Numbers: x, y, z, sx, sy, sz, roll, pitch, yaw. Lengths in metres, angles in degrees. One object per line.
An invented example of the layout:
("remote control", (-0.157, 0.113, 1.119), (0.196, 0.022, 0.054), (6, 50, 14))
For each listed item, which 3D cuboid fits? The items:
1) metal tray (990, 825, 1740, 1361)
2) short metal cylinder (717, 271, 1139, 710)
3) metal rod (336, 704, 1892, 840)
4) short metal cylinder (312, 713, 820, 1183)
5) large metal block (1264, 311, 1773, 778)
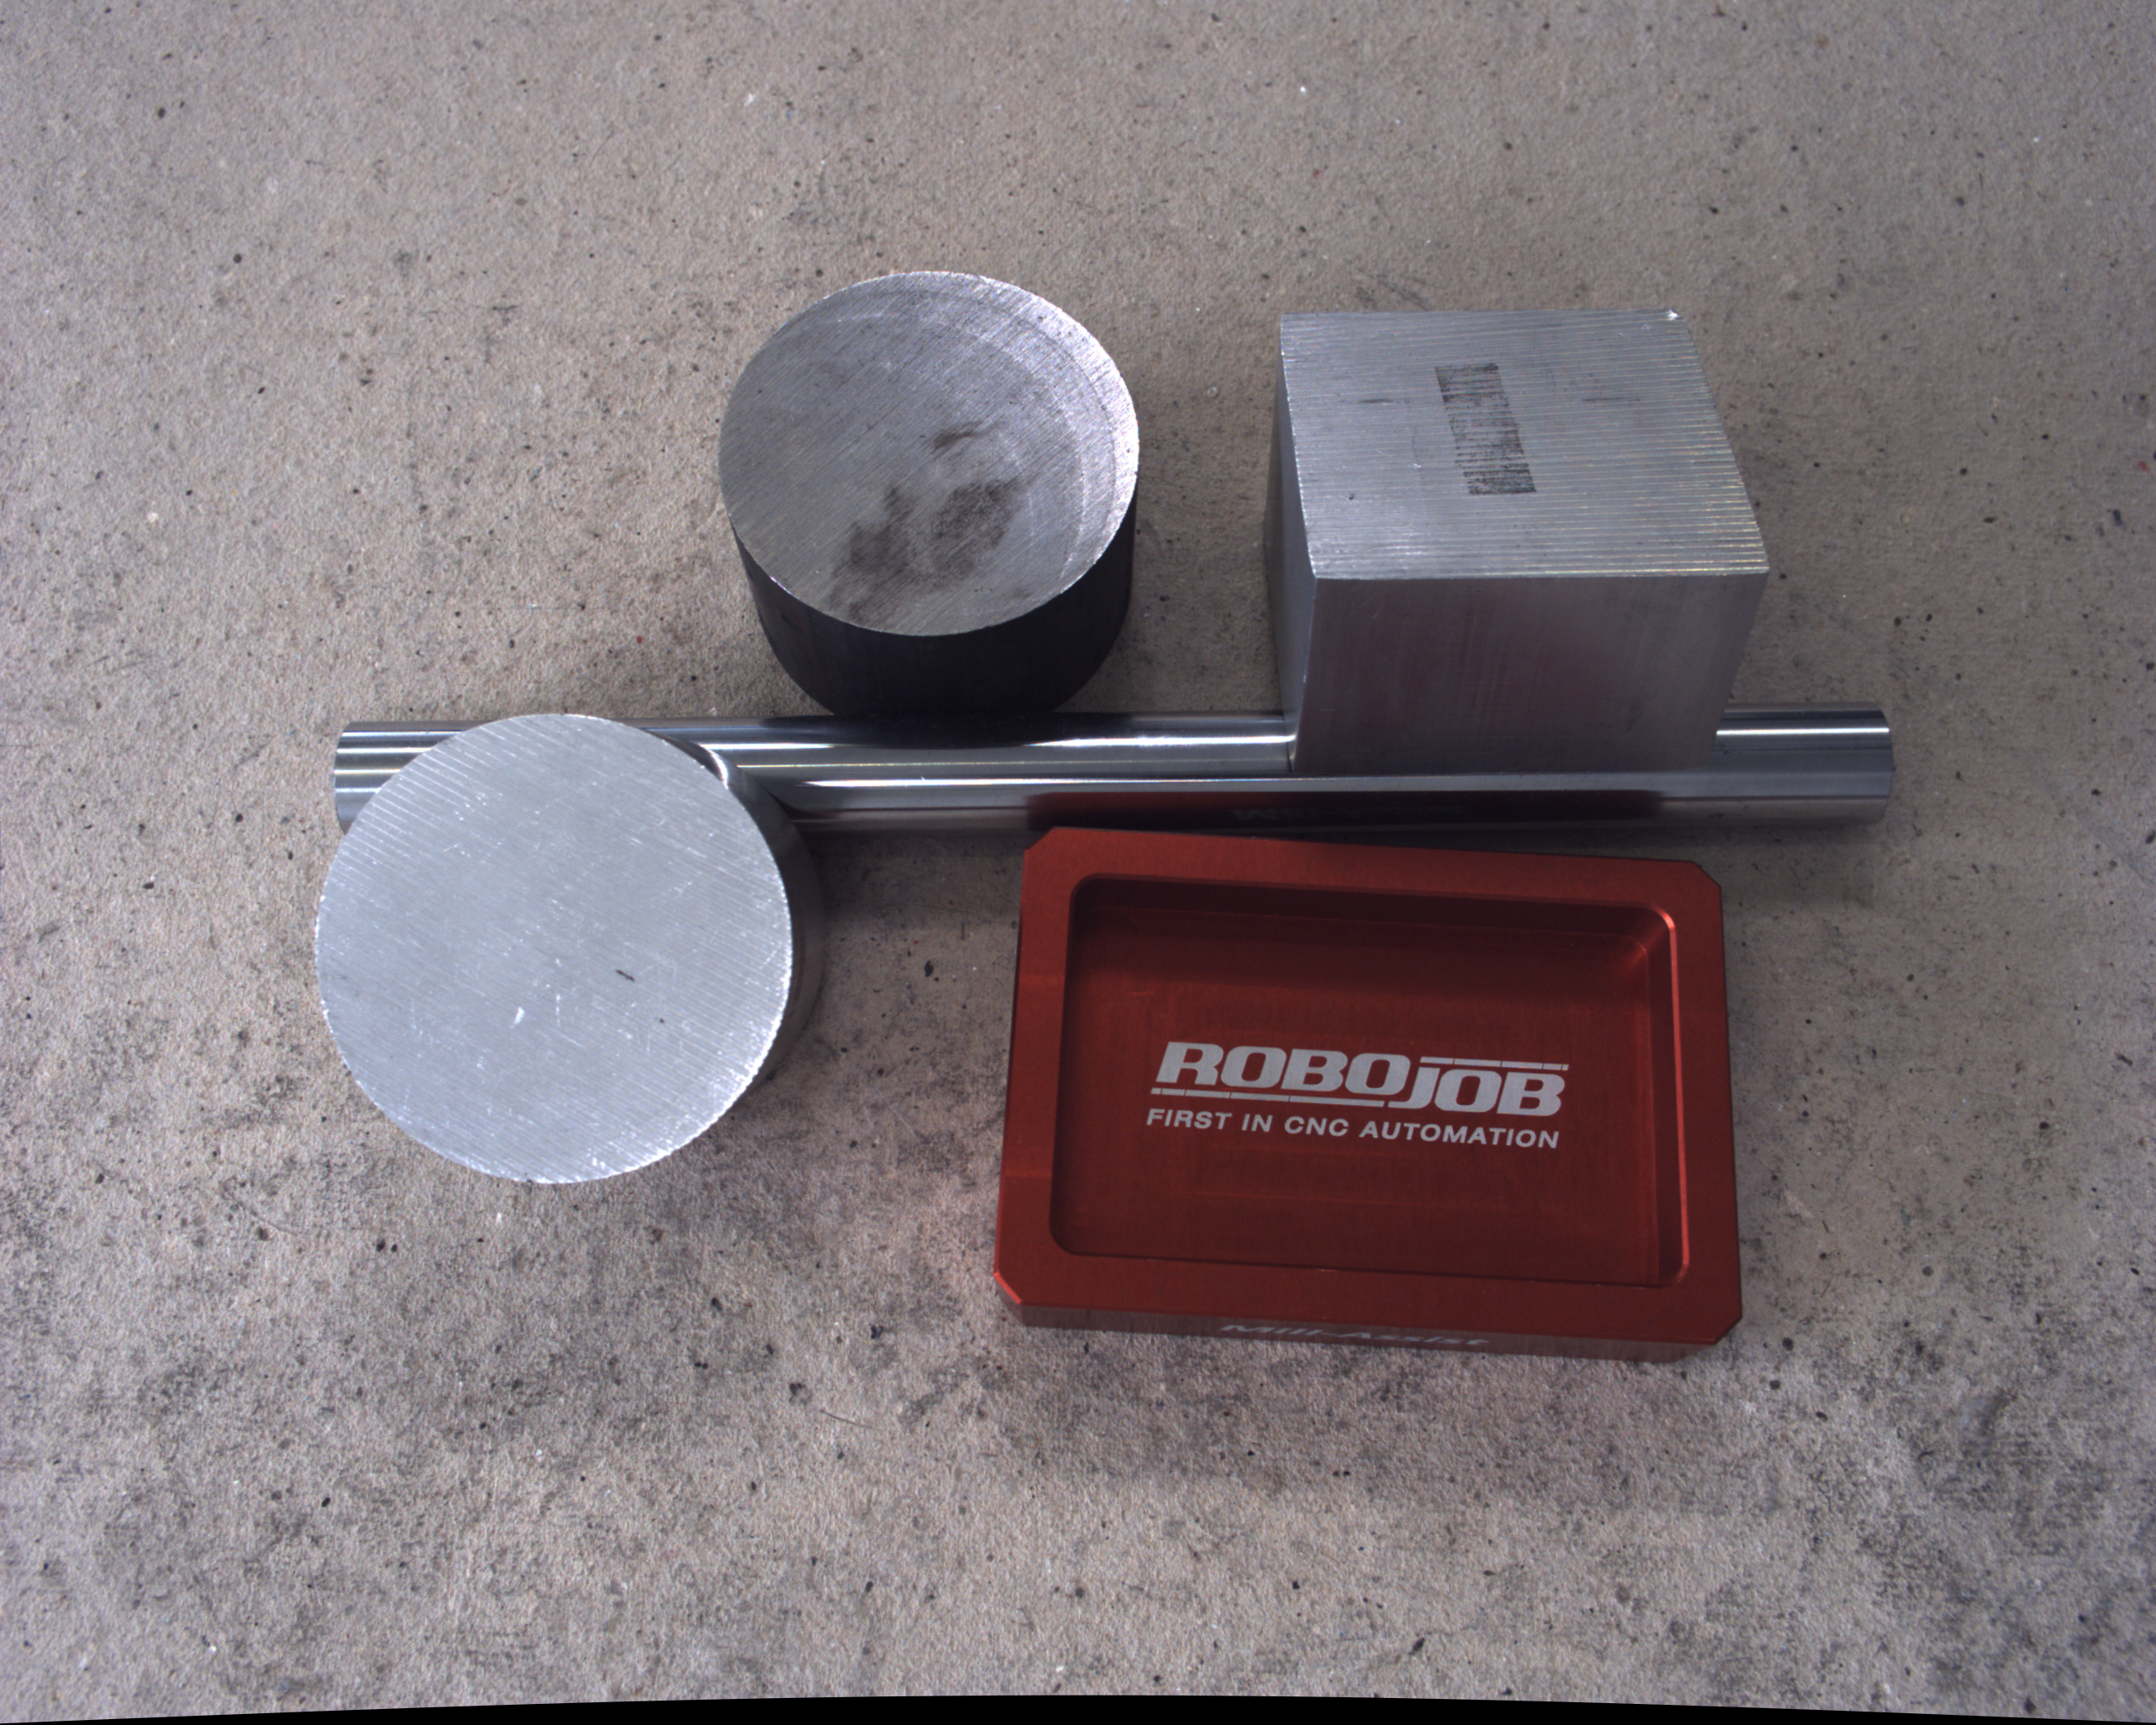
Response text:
("metal tray", (0.052, 0.043, 0.390), (0.131, 0.030, 0.090), (3, 70, 1))
("short metal cylinder", (-0.029, -0.071, 0.422), (0.081, 0.050, 0.080), (0, 69, 0))
("metal rod", (0.008, -0.018, 0.417), (0.302, 0.025, 0.025), (-1, 70, -1))
("short metal cylinder", (-0.089, 0.014, 0.377), (0.081, 0.050, 0.079), (0, 91, -1))
("large metal block", (0.080, -0.063, 0.406), (0.081, 0.050, 0.080), (-1, 49, -1))
